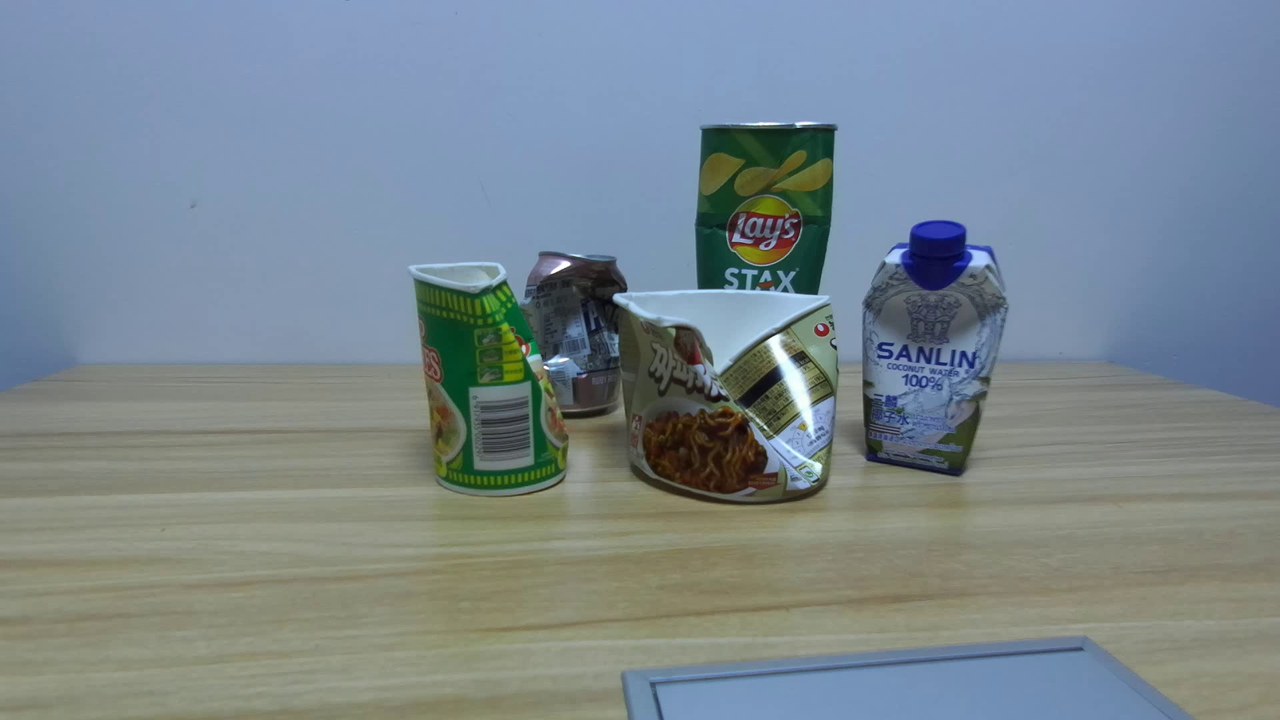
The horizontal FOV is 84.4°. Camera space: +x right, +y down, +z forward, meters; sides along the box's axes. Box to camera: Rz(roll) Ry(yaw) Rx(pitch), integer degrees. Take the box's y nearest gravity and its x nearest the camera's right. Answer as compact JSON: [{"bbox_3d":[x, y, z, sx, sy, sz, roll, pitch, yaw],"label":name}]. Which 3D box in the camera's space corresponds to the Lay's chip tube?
[{"bbox_3d":[0.084,-0.062,0.500,0.075,0.199,0.068,-6,15,-28],"label":"Lay's chip tube"}]

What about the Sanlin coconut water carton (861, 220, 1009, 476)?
[{"bbox_3d":[0.168,-0.008,0.411,0.077,0.142,0.058,8,19,26],"label":"Sanlin coconut water carton"}]

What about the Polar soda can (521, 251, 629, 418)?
[{"bbox_3d":[-0.044,-0.020,0.497,0.070,0.114,0.074,7,18,4],"label":"Polar soda can"}]

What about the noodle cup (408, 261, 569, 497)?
[{"bbox_3d":[-0.075,0.006,0.368,0.075,0.122,0.083,0,20,29],"label":"noodle cup"}]

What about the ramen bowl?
[{"bbox_3d":[0.050,0.012,0.399,0.137,0.098,0.137,3,11,0],"label":"ramen bowl"}]
